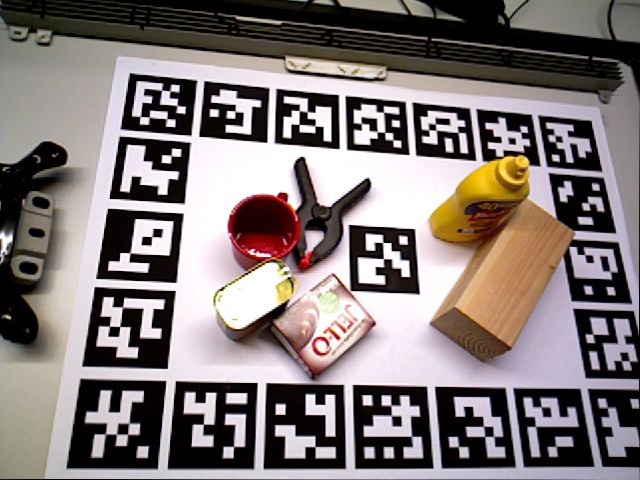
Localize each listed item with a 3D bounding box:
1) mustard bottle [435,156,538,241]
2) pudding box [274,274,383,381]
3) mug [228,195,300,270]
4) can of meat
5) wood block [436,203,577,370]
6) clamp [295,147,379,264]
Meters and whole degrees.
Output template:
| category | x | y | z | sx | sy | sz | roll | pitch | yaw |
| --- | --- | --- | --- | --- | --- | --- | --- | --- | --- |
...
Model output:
| category | x | y | z | sx | sy | sz | roll | pitch | yaw |
| --- | --- | --- | --- | --- | --- | --- | --- | --- | --- |
| mustard bottle | 0.231 | -0.059 | 0.719 | 0.095 | 0.195 | 0.058 | 0 | 69 | -11 |
| pudding box | 0.010 | 0.112 | 0.701 | 0.112 | 0.039 | 0.090 | -35 | 80 | -22 |
| mug | -0.074 | -0.014 | 0.734 | 0.093 | 0.083 | 0.115 | 25 | 68 | 0 |
| can of meat | -0.080 | 0.074 | 0.668 | 0.100 | 0.085 | 0.057 | -26 | 77 | -19 |
| wood block | 0.260 | 0.061 | 0.740 | 0.090 | 0.093 | 0.202 | 38 | 66 | 7 |
| clamp | 0.006 | -0.043 | 0.764 | 0.121 | 0.037 | 0.163 | 23 | 69 | -3 |
